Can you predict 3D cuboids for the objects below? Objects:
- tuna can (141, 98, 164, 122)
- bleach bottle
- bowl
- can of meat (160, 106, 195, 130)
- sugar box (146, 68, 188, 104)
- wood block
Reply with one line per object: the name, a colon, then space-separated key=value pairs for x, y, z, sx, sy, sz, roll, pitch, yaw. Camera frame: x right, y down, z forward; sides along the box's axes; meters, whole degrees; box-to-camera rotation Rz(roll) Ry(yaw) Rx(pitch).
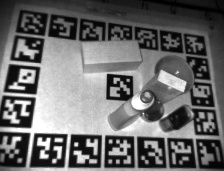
tuna can: x=0.141 y=0.088 z=0.774 sx=0.086 sy=0.033 sz=0.085 roll=3 pitch=73 yaw=-10
bleach bottle: x=0.061 y=0.070 z=0.650 sx=0.103 sy=0.250 sz=0.067 roll=-22 pitch=75 yaw=-17
bowl: x=0.243 y=-0.043 z=0.834 sx=0.162 sy=0.055 sz=0.161 roll=3 pitch=70 yaw=-7
can of meat: x=0.228 y=0.111 z=0.765 sx=0.102 sy=0.083 sz=0.057 roll=-27 pitch=74 yaw=-20
sugar box: x=0.176 y=0.008 z=0.733 sx=0.093 sy=0.176 sz=0.045 roll=22 pitch=70 yaw=1
wood block: x=-0.009 y=-0.107 z=0.785 sx=0.208 sy=0.089 sz=0.090 roll=-5 pitch=76 yaw=-15
